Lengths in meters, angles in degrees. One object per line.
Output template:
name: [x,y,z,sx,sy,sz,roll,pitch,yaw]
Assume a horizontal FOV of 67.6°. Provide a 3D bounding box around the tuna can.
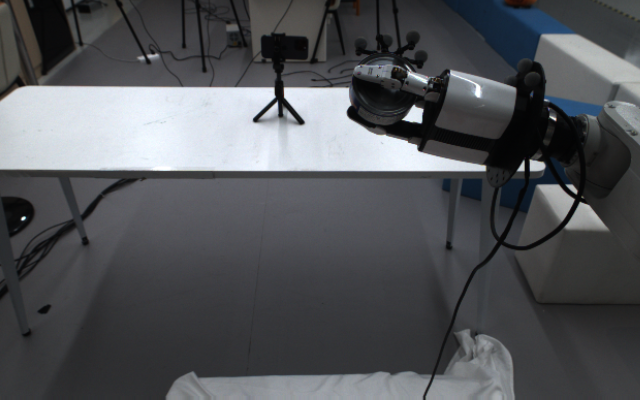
tuna can: [0.080,-0.142,0.610,0.085,0.034,0.085,1,74,-4]
